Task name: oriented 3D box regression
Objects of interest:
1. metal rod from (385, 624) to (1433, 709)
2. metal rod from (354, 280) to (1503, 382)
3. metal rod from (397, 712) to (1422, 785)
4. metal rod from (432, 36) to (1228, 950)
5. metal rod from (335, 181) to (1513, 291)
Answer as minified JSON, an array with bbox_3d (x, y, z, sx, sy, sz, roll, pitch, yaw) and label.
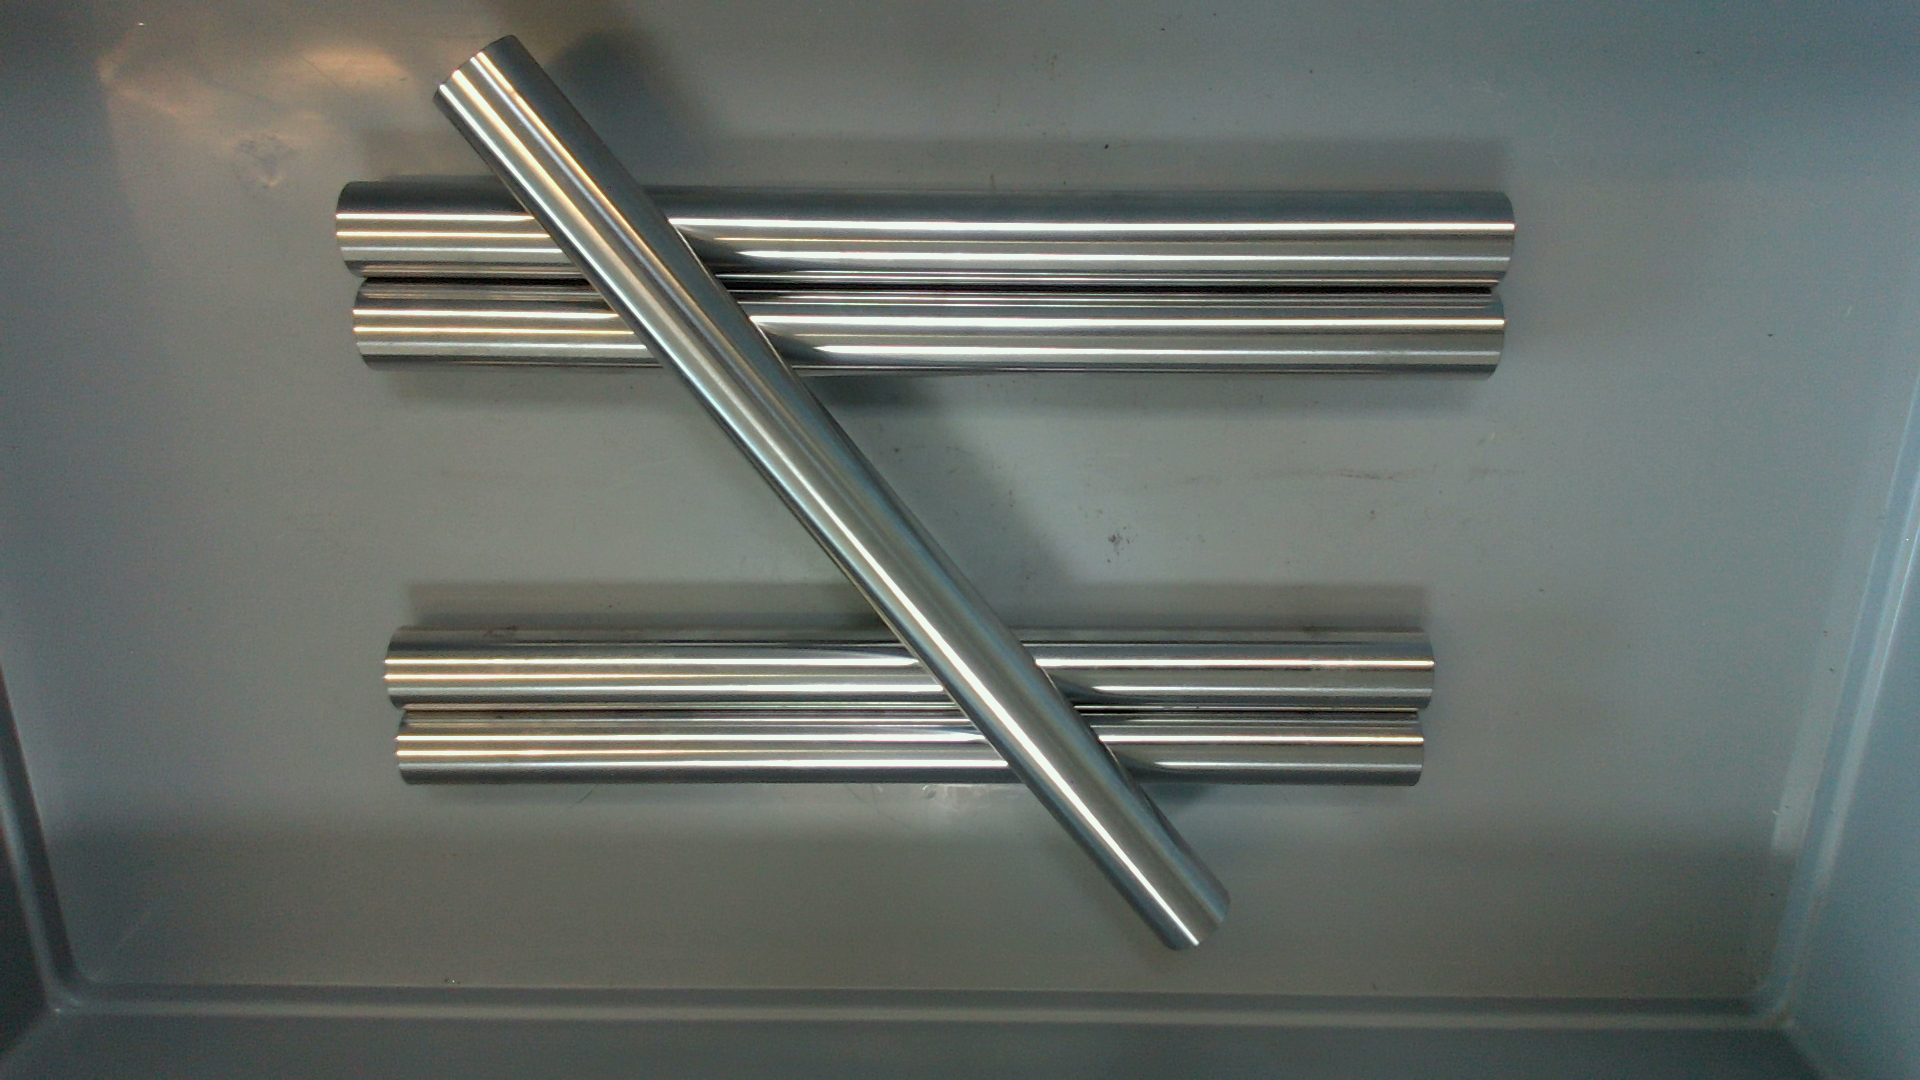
[{"bbox_3d":[-0.014,0.037,0.406,0.300,0.025,0.025,0,110,0],"label":"metal rod"},{"bbox_3d":[-0.008,-0.056,0.371,0.300,0.025,0.025,1,110,0],"label":"metal rod"},{"bbox_3d":[-0.014,0.061,0.415,0.300,0.025,0.025,0,110,0],"label":"metal rod"},{"bbox_3d":[-0.023,0.000,0.367,0.025,0.025,0.300,-36,106,12],"label":"metal rod"},{"bbox_3d":[-0.009,-0.080,0.363,0.300,0.025,0.025,1,110,0],"label":"metal rod"}]
